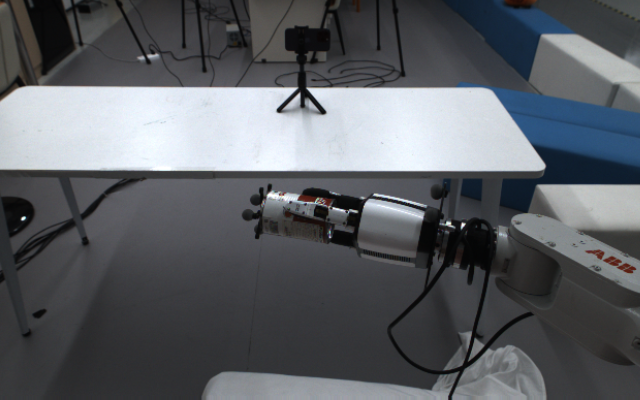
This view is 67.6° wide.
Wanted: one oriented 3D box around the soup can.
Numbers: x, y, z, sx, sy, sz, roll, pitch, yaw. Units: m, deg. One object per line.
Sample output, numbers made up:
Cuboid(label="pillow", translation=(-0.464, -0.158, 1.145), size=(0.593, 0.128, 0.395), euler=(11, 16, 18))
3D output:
Cuboid(label="soup can", translation=(-0.029, 0.026, 0.721), size=(0.101, 0.067, 0.067), euler=(8, 35, 10))
